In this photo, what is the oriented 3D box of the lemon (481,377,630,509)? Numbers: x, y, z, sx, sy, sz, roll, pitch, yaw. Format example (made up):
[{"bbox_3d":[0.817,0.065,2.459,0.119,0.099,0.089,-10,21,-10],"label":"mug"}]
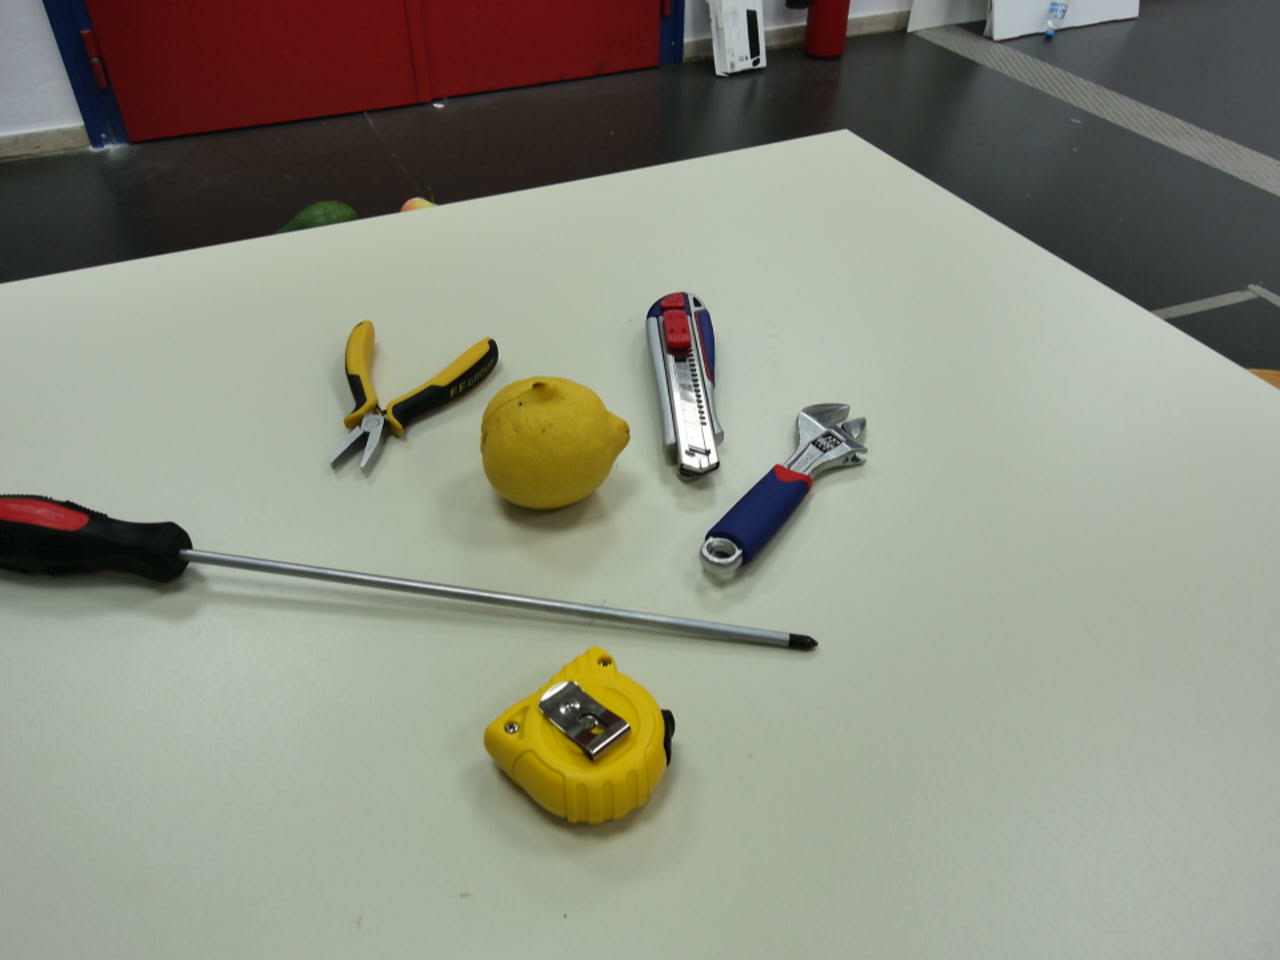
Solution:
[{"bbox_3d":[-0.048,-0.022,0.512,0.071,0.071,0.070,22,43,23],"label":"lemon"}]
